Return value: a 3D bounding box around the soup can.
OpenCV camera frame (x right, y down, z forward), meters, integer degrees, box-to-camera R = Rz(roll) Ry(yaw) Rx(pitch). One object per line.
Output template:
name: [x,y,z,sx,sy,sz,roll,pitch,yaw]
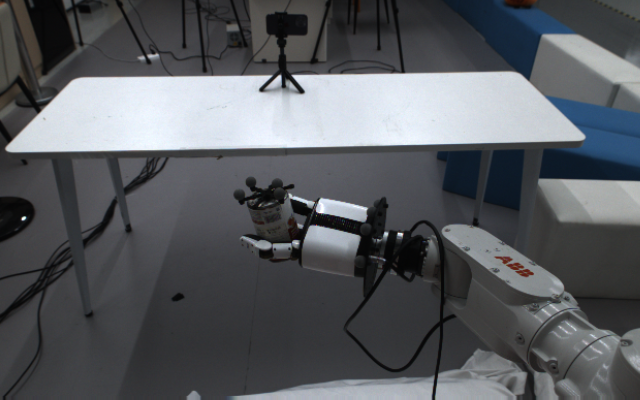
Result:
soup can: [-0.069,0.039,0.764,0.067,0.101,0.067,-11,27,6]
